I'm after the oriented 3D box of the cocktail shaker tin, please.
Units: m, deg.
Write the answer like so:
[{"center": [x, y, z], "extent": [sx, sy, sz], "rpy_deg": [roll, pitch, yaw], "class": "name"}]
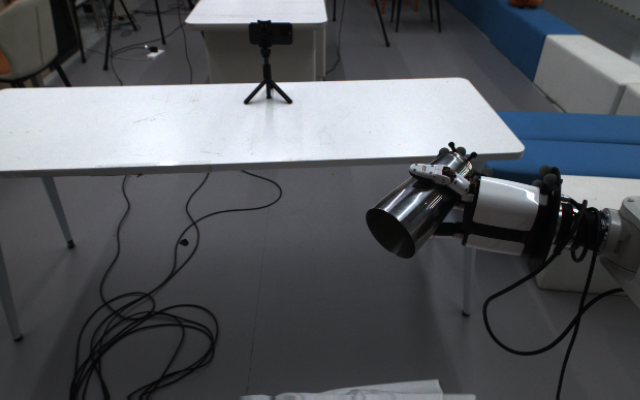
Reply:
[{"center": [0.160, -0.006, 0.733], "extent": [0.170, 0.093, 0.093], "rpy_deg": [-39, 50, -23], "class": "cocktail shaker tin"}]
